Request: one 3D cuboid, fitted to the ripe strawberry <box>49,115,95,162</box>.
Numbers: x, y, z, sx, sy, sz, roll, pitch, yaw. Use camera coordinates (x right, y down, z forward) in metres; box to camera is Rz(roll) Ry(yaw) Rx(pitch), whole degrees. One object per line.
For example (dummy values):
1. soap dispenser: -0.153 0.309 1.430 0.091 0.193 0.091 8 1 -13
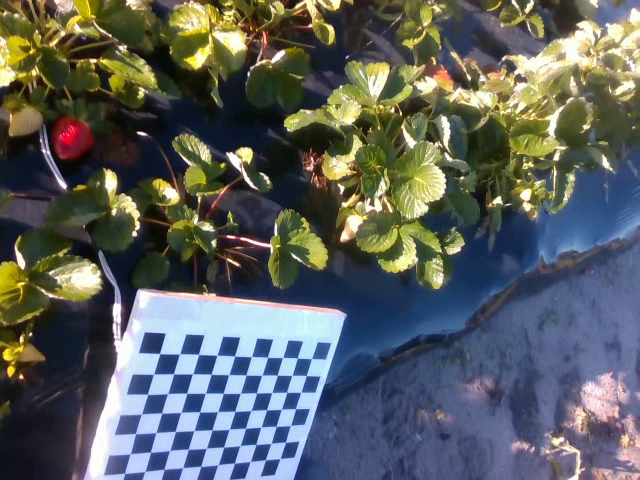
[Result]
1. ripe strawberry: -0.311 -0.131 0.752 0.040 0.080 0.062 -20 -47 26
